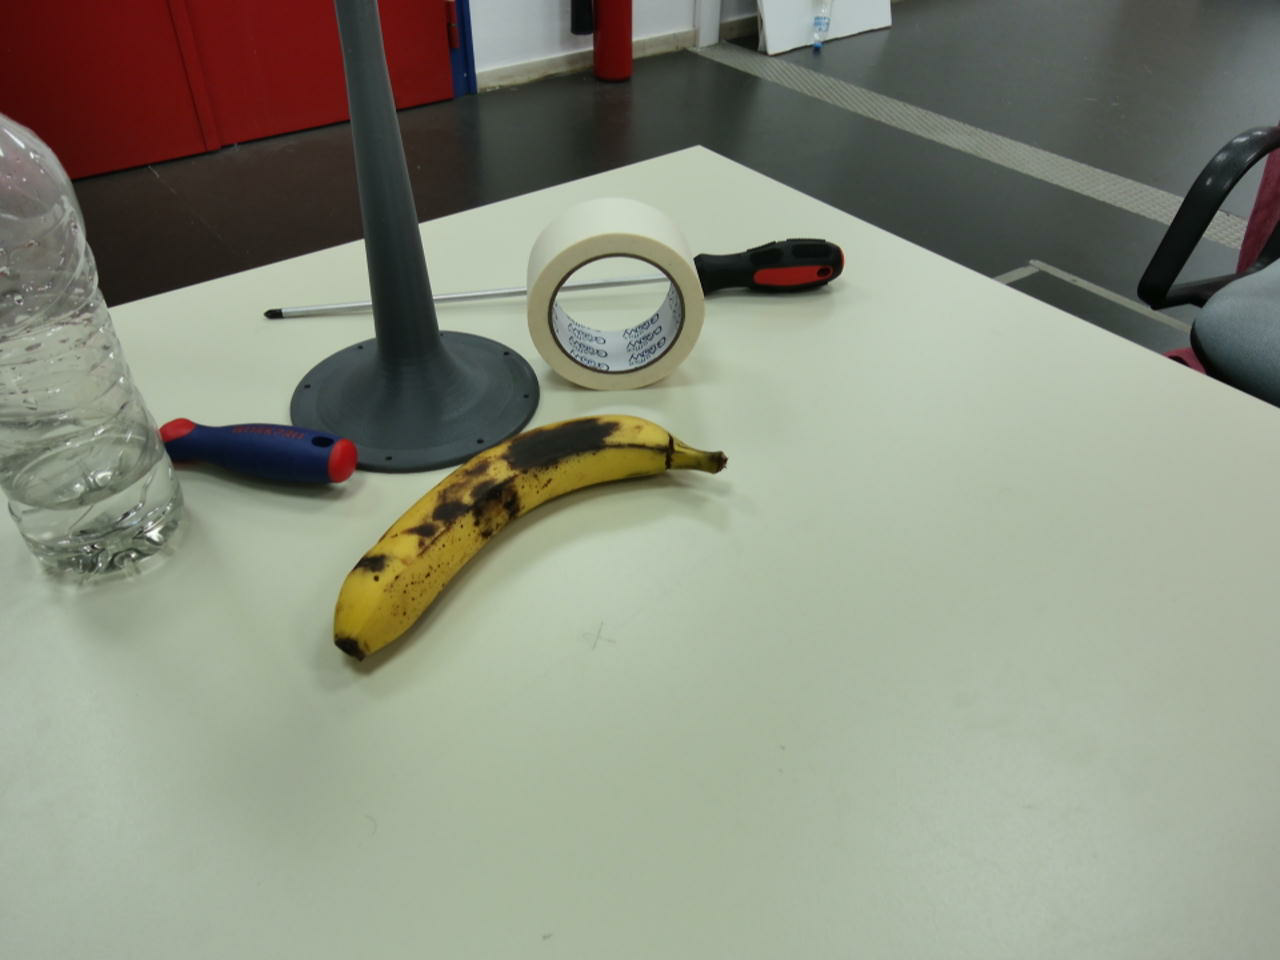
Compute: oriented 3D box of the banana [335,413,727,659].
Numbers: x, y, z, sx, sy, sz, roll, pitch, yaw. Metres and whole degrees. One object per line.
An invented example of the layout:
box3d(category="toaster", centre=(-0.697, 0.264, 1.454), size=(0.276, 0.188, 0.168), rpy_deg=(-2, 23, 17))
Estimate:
box3d(category="banana", centre=(-0.063, 0.012, 0.505), size=(0.222, 0.037, 0.084), rpy_deg=(-25, 45, -30))
